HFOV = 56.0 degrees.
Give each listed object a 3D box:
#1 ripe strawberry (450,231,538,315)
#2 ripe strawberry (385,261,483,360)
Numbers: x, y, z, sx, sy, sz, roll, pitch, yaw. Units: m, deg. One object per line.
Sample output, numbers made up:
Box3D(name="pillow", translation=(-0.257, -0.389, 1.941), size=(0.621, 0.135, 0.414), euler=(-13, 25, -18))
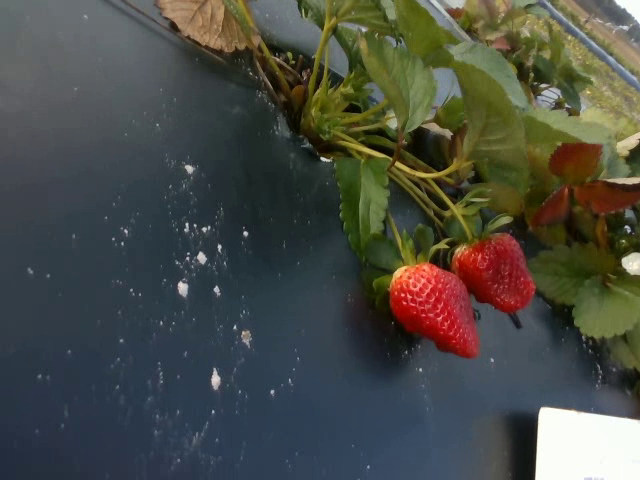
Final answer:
Box3D(name="ripe strawberry", translation=(0.105, 0.017, 0.343), size=(0.042, 0.053, 0.034), euler=(-3, -38, -35))
Box3D(name="ripe strawberry", translation=(0.061, 0.035, 0.296), size=(0.050, 0.061, 0.045), euler=(3, -46, -35))
